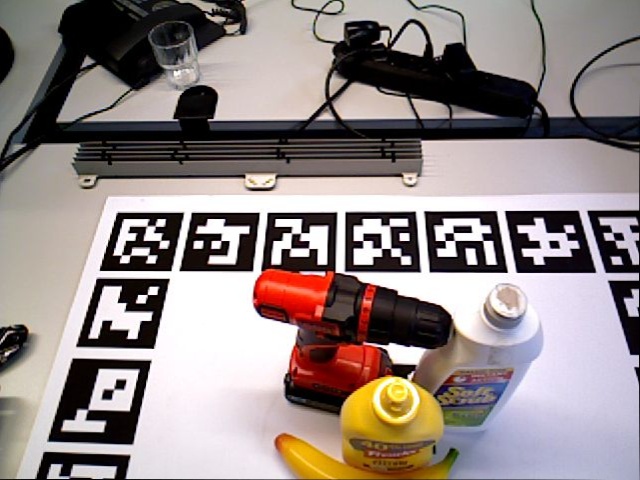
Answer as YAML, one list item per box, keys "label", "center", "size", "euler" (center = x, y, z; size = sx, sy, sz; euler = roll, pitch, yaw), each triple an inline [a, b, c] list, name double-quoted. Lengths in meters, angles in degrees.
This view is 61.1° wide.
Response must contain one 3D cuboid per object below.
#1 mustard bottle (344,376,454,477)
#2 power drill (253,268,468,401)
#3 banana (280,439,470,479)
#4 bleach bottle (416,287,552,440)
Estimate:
- label: "mustard bottle"
  center: [0.071, 0.170, 0.498]
  size: [0.096, 0.195, 0.057]
  euler: [2, 56, 3]
- label: "power drill"
  center: [0.033, 0.099, 0.522]
  size: [0.184, 0.190, 0.056]
  euler: [12, 57, 9]
- label: "banana"
  center: [0.052, 0.243, 0.556]
  size: [0.197, 0.039, 0.073]
  euler: [4, 59, 9]
- label: "bleach bottle"
  center: [0.142, 0.109, 0.503]
  size: [0.102, 0.256, 0.066]
  euler: [3, 51, 5]
